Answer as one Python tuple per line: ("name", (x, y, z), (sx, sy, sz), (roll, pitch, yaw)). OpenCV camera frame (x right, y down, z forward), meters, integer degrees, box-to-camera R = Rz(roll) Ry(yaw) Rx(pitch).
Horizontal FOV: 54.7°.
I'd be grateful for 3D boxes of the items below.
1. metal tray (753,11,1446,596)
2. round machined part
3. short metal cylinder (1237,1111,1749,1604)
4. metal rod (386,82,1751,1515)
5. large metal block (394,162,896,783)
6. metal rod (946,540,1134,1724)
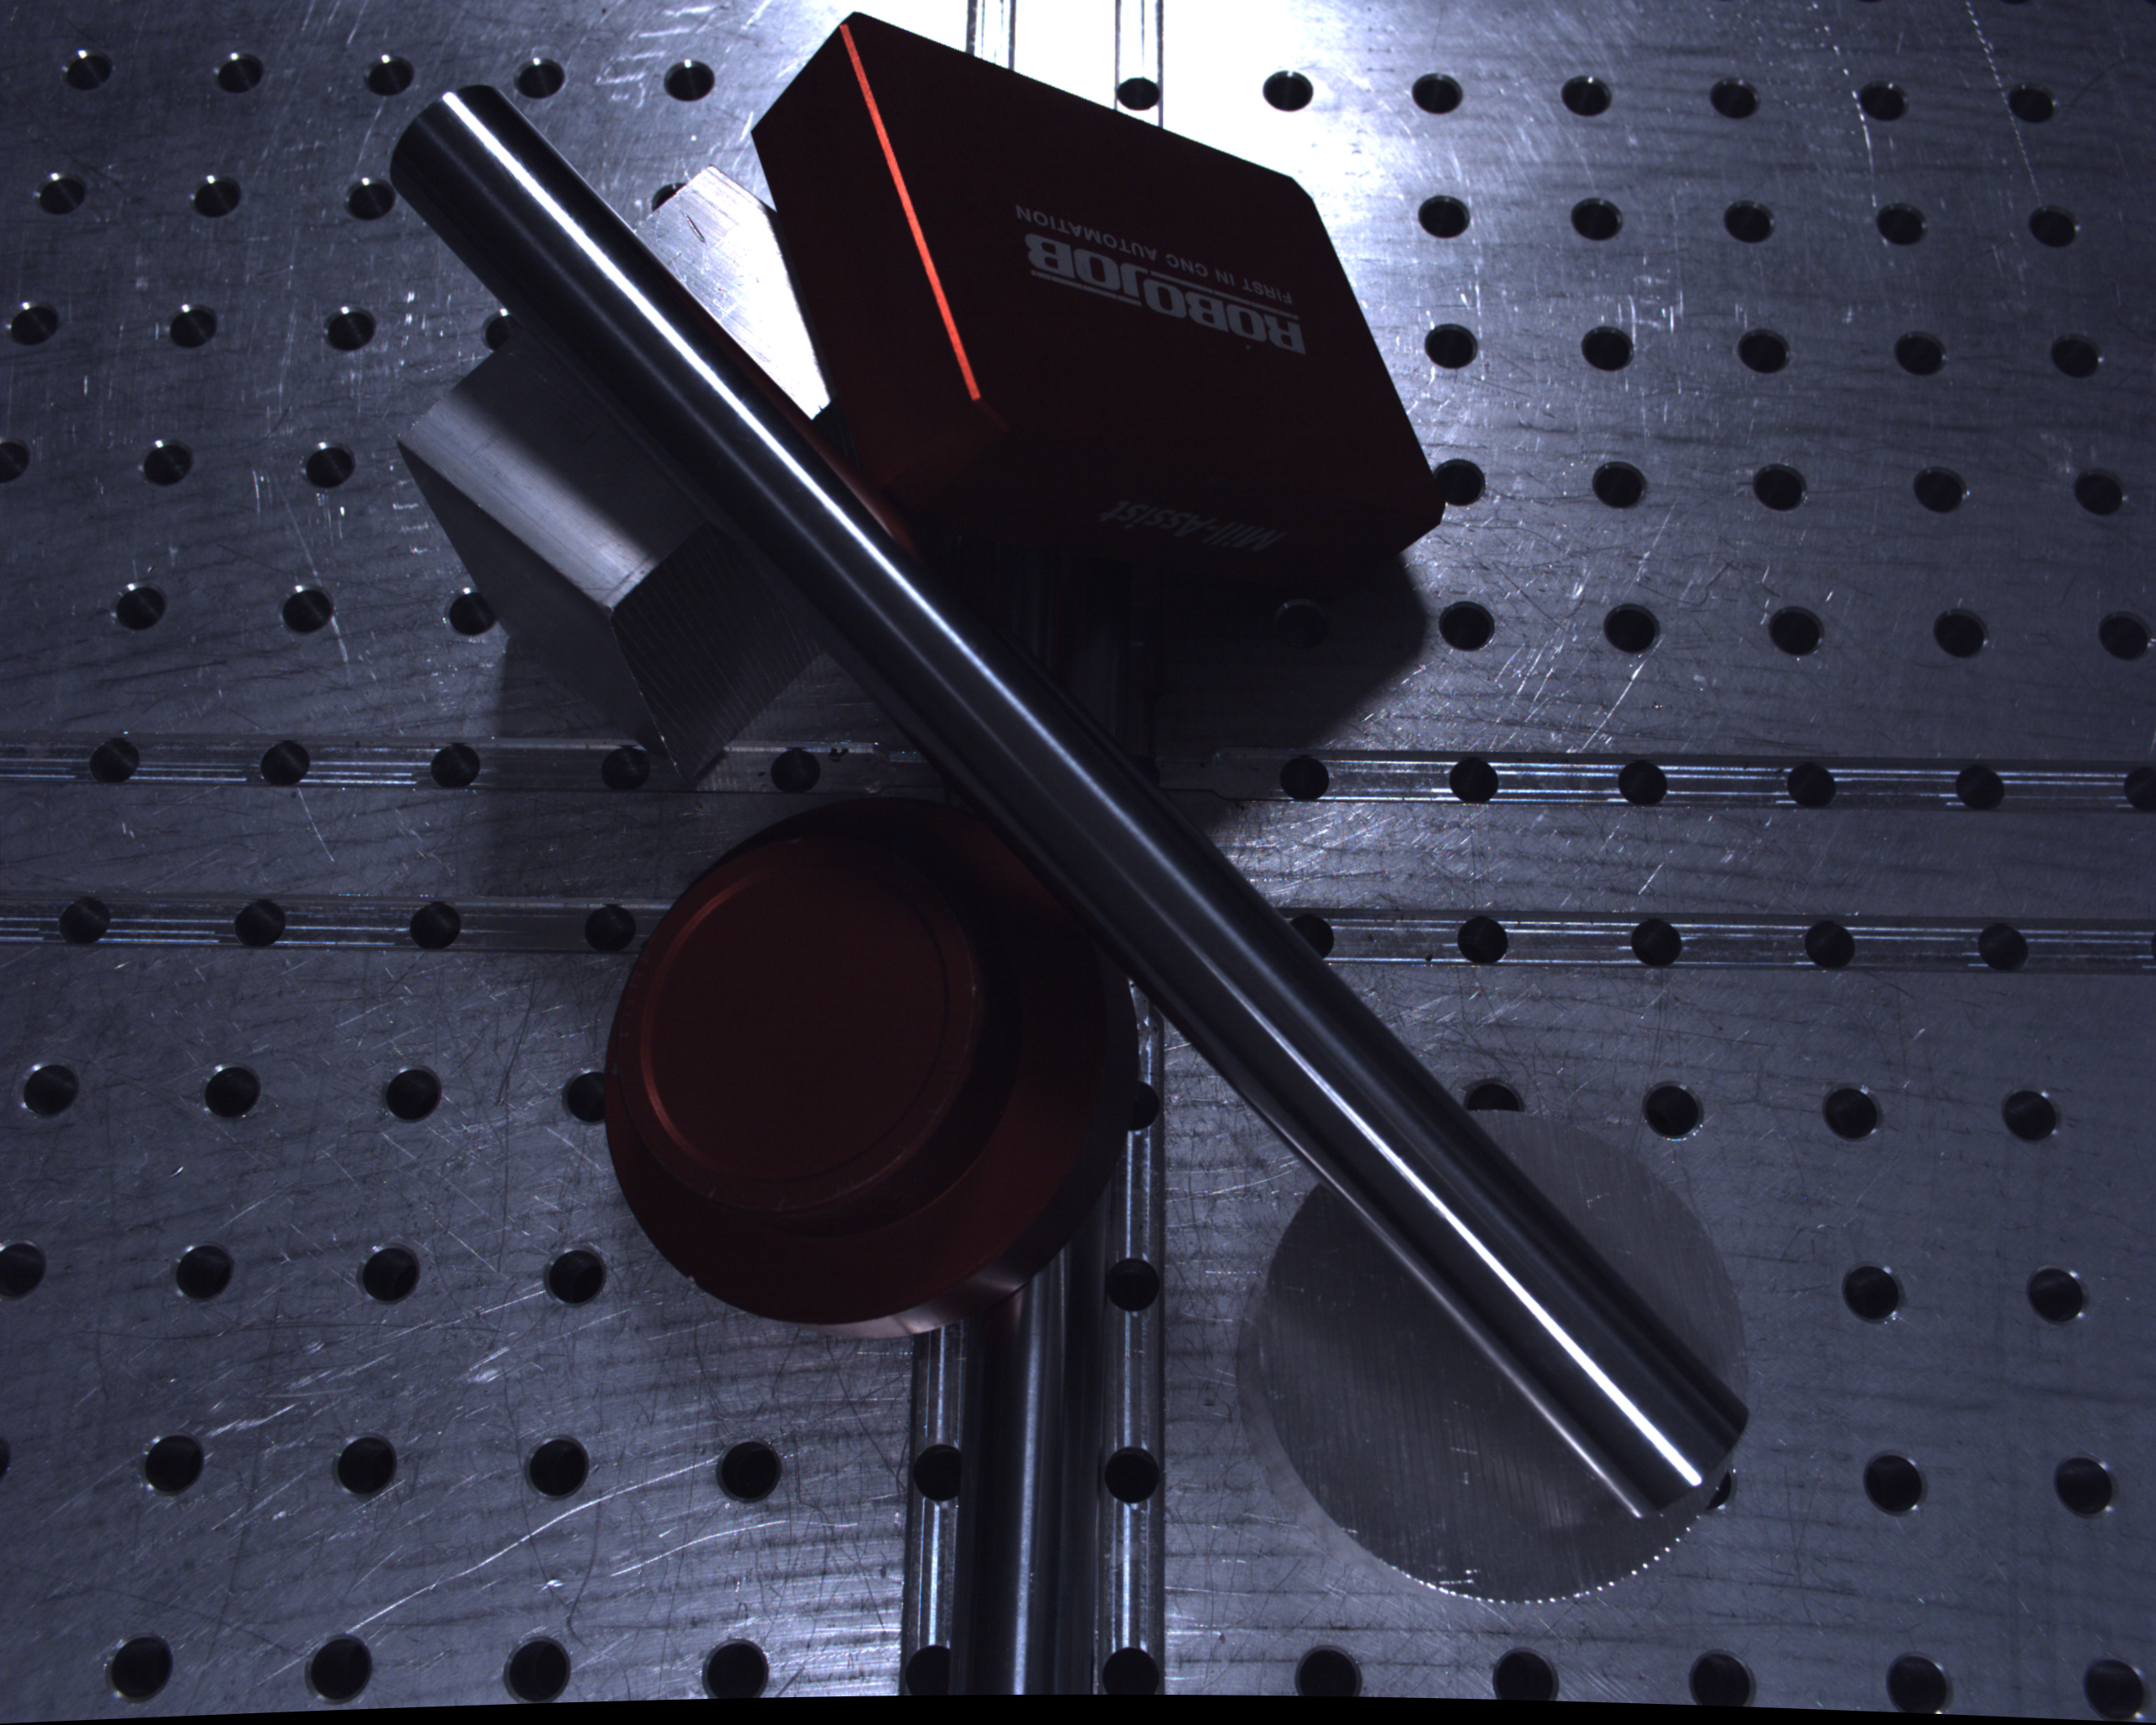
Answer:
("metal tray", (0.008, -0.104, 0.405), (0.131, 0.030, 0.090), (1, 62, -45))
("round machined part", (-0.041, 0.033, 0.373), (0.098, 0.042, 0.098), (-6, 69, 16))
("short metal cylinder", (0.070, 0.088, 0.367), (0.081, 0.050, 0.080), (0, 70, 0))
("metal rod", (-0.007, -0.016, 0.342), (0.025, 0.025, 0.300), (-42, 83, -14))
("large metal block", (-0.075, -0.073, 0.409), (0.050, 0.080, 0.080), (40, 75, 13))
("metal rod", (-0.004, 0.015, 0.406), (0.025, 0.025, 0.299), (2, 70, 0))
